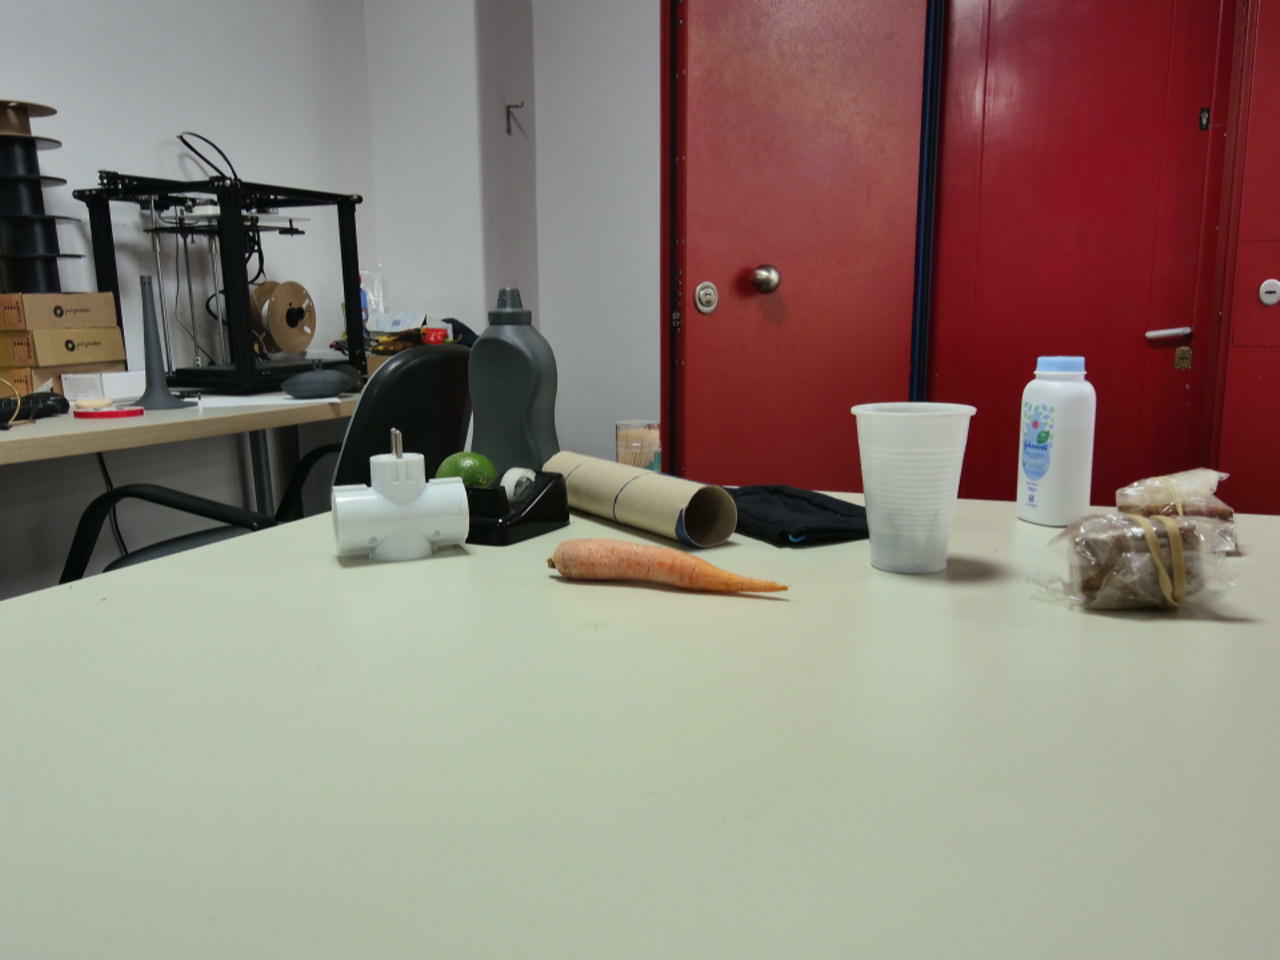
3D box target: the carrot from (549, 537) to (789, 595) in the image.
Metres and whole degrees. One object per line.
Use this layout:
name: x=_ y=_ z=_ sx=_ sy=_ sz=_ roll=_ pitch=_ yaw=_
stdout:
carrot: x=0.014 y=0.054 z=0.628 sx=0.163 sy=0.029 sz=0.031 roll=3 pitch=8 yaw=23
